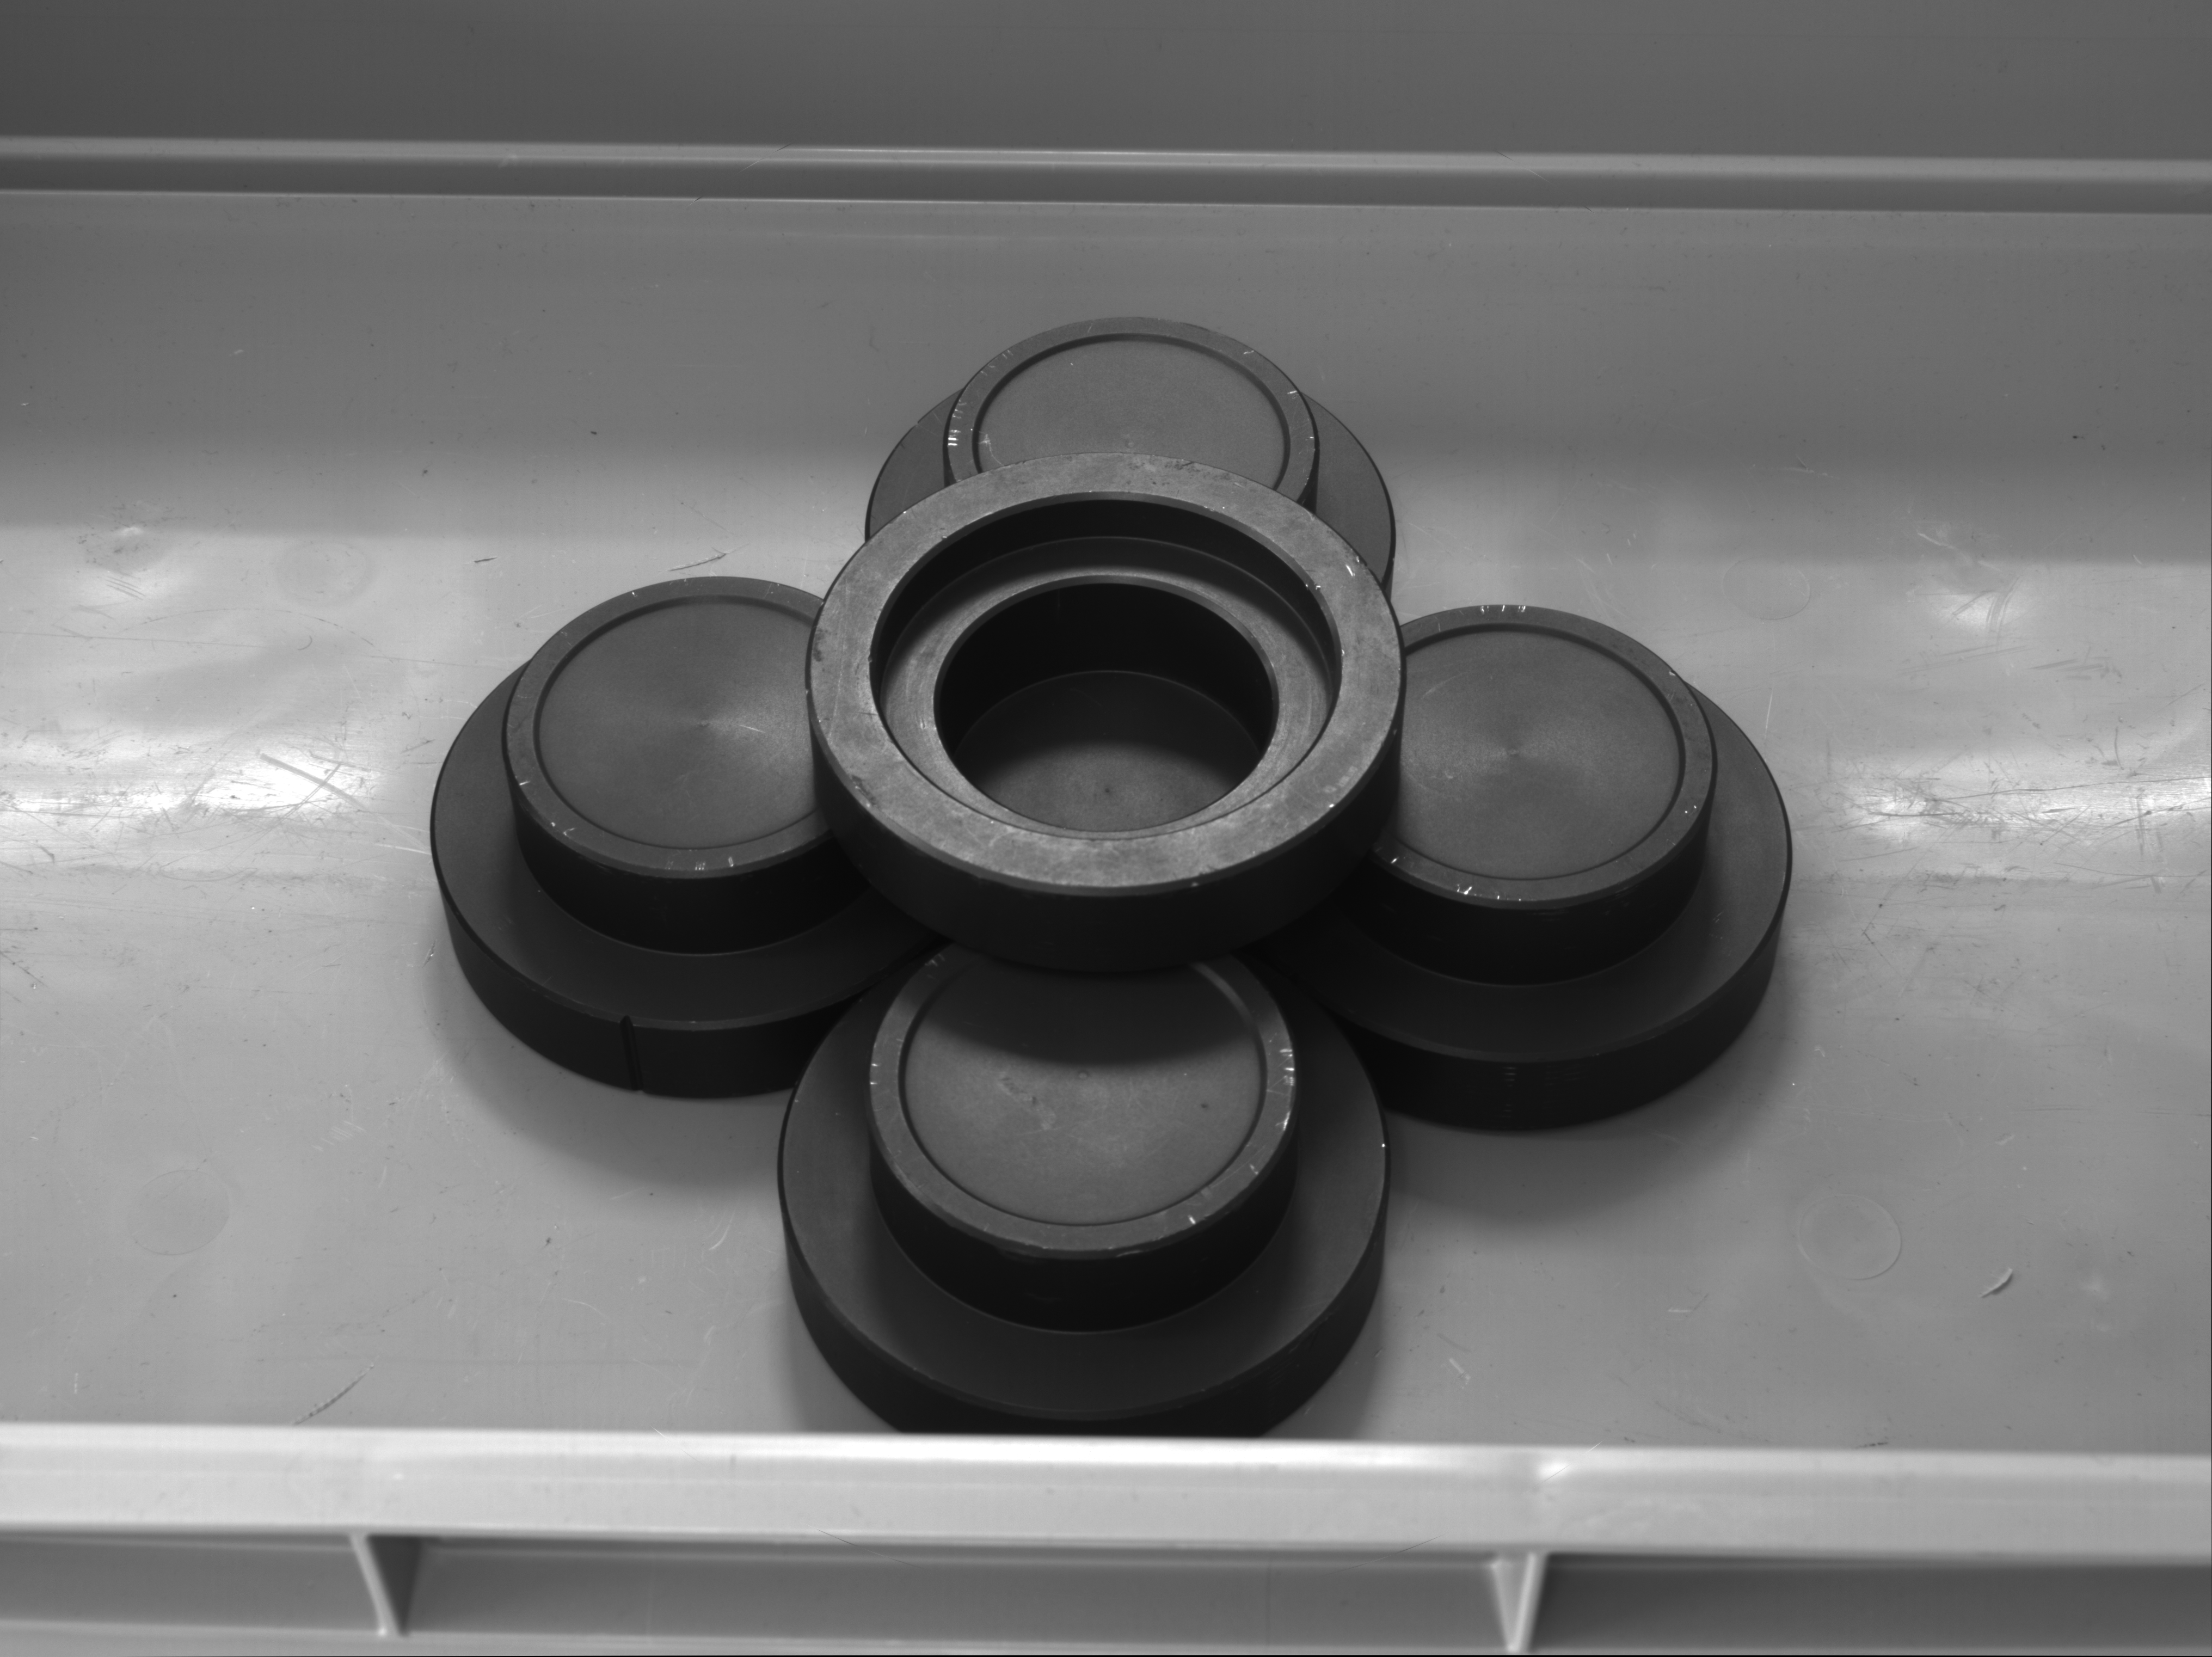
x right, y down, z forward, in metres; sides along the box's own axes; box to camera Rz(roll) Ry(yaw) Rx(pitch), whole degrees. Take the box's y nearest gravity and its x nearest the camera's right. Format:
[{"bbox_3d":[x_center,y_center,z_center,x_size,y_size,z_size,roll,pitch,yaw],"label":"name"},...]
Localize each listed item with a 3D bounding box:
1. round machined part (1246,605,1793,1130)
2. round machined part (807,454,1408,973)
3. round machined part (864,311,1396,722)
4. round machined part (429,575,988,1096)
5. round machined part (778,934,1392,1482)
[{"bbox_3d":[0.069,0.000,0.628,0.098,0.042,0.098,0,50,0],"label":"round machined part"},{"bbox_3d":[0.000,-0.014,0.613,0.098,0.042,0.098,0,50,0],"label":"round machined part"},{"bbox_3d":[0.004,-0.057,0.676,0.098,0.042,0.098,0,50,0],"label":"round machined part"},{"bbox_3d":[-0.068,-0.005,0.633,0.098,0.042,0.098,0,50,0],"label":"round machined part"},{"bbox_3d":[-0.003,0.051,0.585,0.098,0.042,0.098,1,48,-1],"label":"round machined part"}]
